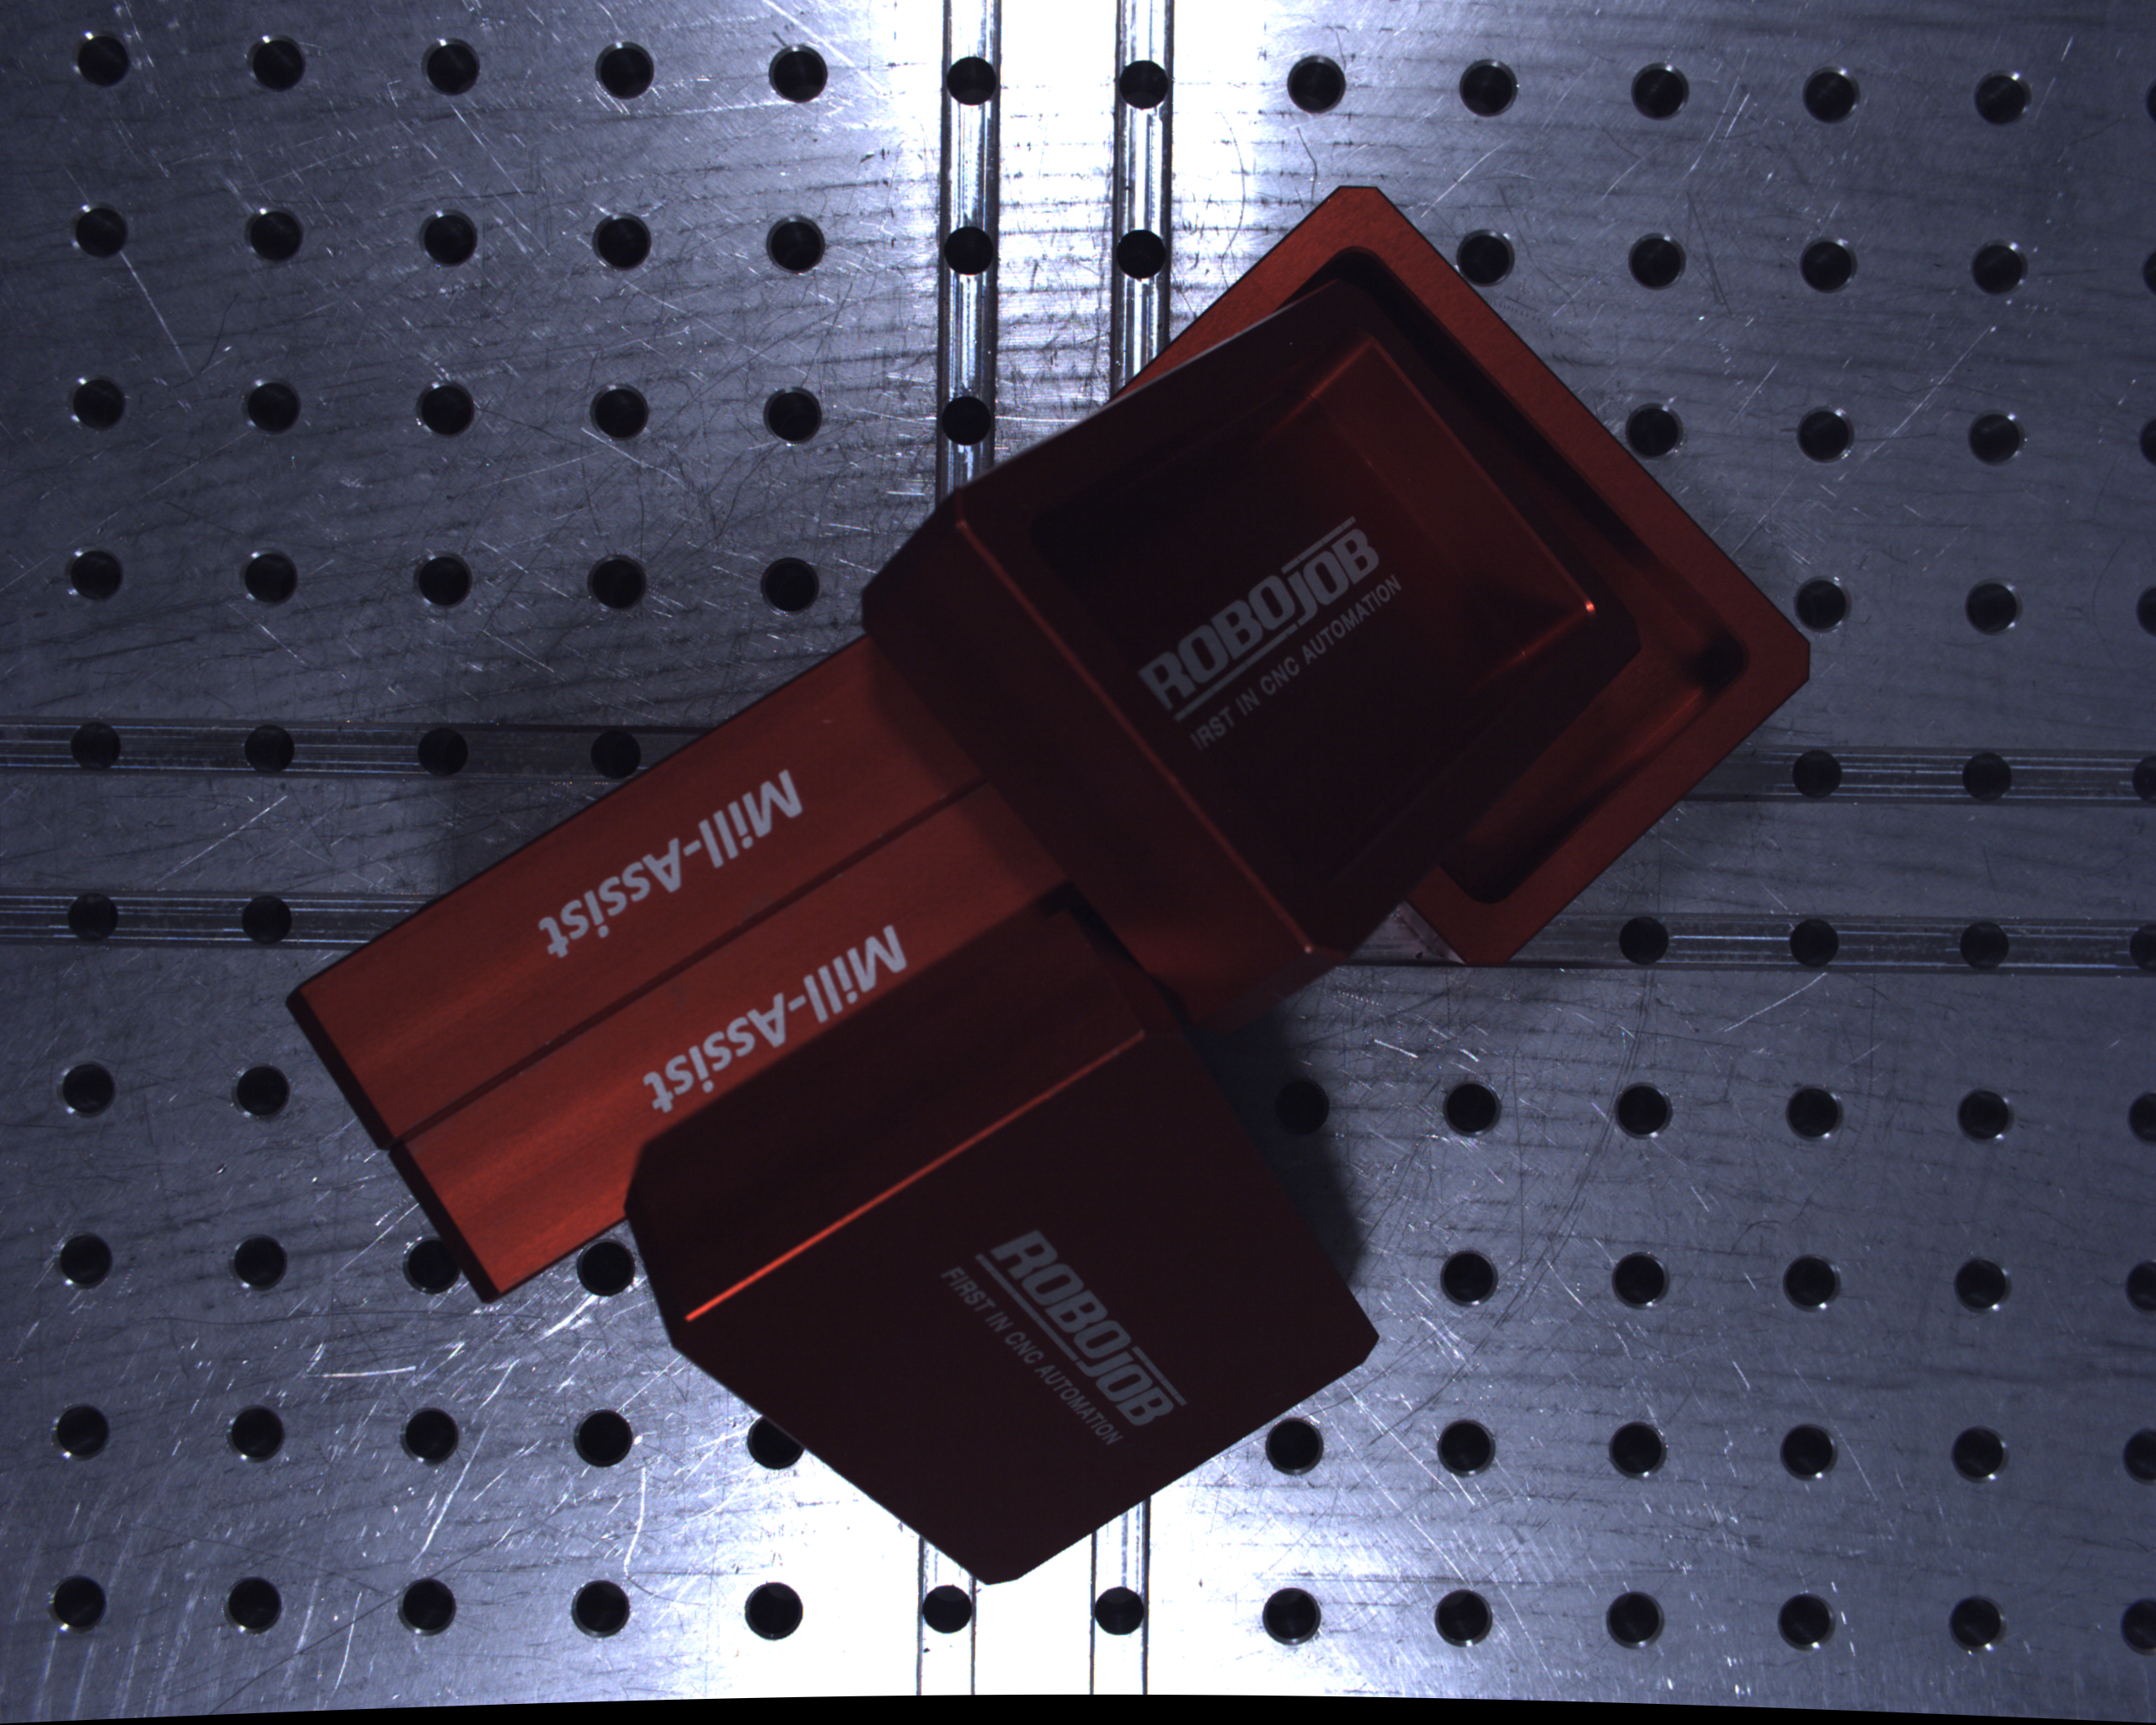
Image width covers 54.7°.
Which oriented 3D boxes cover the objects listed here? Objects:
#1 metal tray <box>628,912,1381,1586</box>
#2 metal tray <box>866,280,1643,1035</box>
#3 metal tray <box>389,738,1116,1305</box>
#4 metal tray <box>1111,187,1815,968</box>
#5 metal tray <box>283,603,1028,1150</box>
[{"bbox_3d":[-0.006,0.074,0.367,0.090,0.130,0.030,-32,49,0],"label":"metal tray"},{"bbox_3d":[0.036,-0.041,0.357,0.090,0.030,0.131,51,45,0],"label":"metal tray"},{"bbox_3d":[-0.049,0.025,0.379,0.130,0.090,0.030,-32,90,0],"label":"metal tray"},{"bbox_3d":[0.066,-0.054,0.410,0.090,0.030,0.130,-44,91,0],"label":"metal tray"},{"bbox_3d":[-0.067,0.000,0.380,0.130,0.090,0.030,-32,90,0],"label":"metal tray"}]
